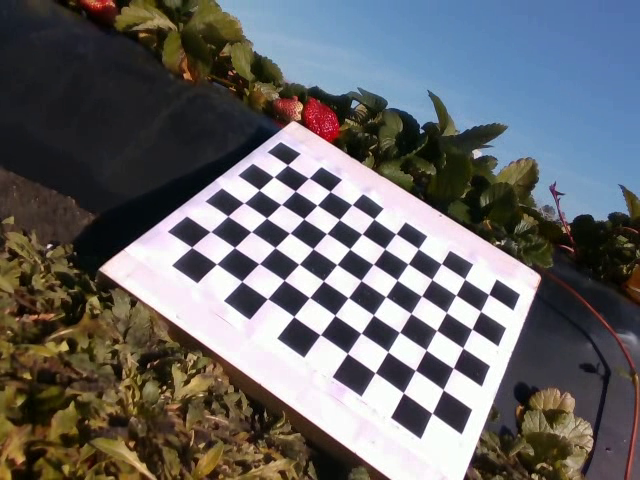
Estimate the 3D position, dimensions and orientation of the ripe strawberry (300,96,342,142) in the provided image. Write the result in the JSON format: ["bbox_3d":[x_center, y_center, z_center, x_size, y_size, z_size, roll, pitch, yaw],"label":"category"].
[{"bbox_3d":[-0.005,-0.125,0.631,0.058,0.066,0.062,-18,-34,-1],"label":"ripe strawberry"}]
